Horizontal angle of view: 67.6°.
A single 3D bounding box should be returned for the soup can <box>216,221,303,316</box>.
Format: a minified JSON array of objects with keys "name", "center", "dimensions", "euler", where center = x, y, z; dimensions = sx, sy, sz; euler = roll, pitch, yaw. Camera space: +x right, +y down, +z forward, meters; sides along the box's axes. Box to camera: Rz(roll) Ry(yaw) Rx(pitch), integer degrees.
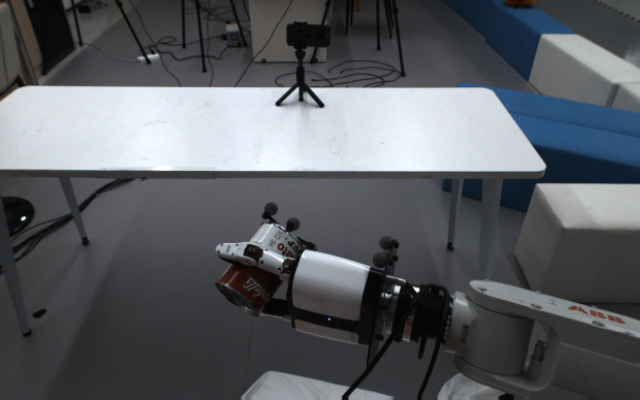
[{"name":"soup can","center":[-0.073,0.086,0.610],"dimensions":[0.067,0.067,0.101],"euler":[23,60,27]}]
